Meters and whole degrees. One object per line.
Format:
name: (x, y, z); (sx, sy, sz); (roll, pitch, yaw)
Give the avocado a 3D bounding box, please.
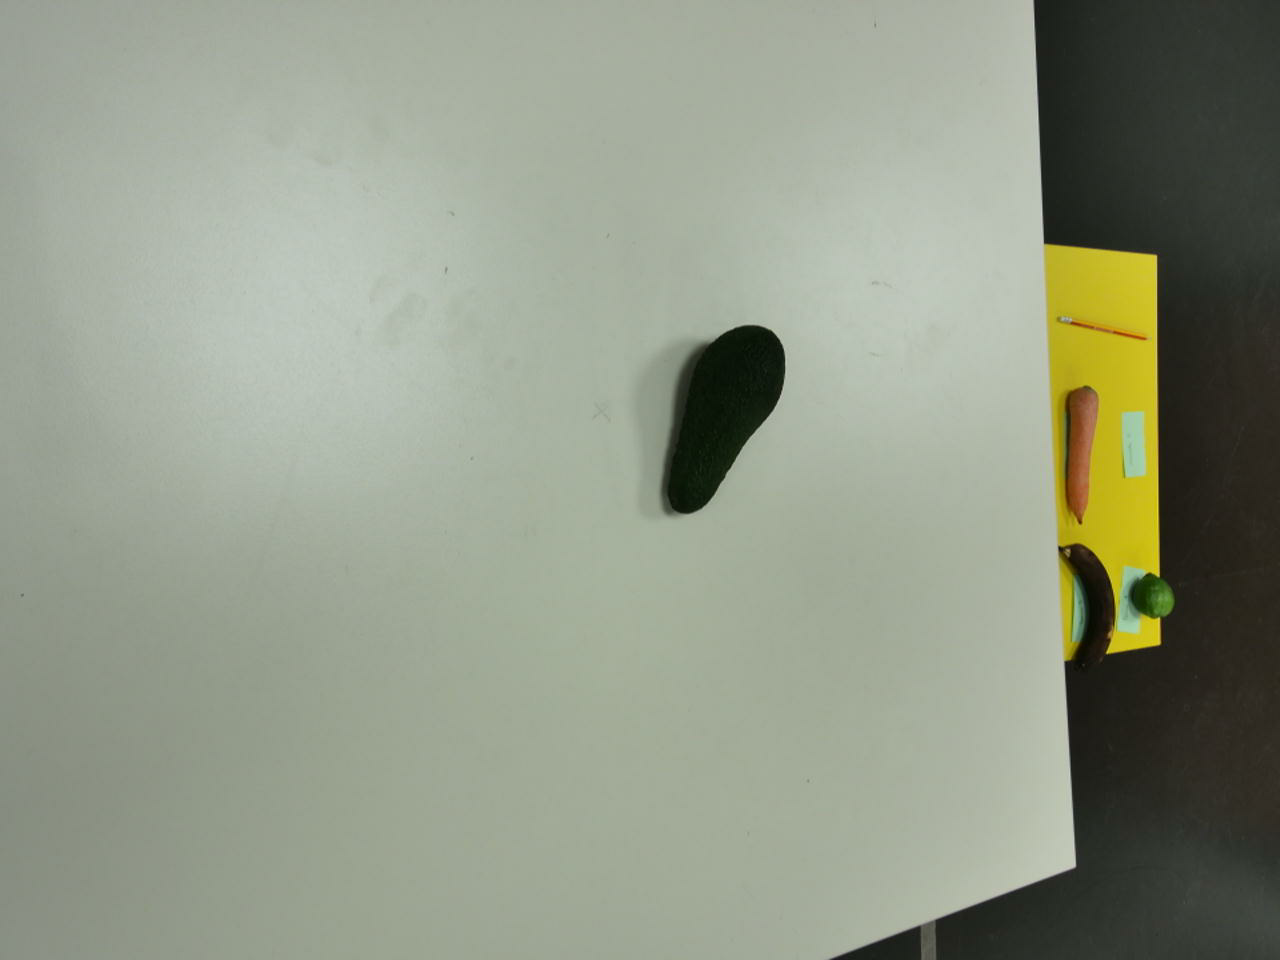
avocado: (0.064, -0.040, 0.697); (0.063, 0.067, 0.141); (12, 85, -27)
